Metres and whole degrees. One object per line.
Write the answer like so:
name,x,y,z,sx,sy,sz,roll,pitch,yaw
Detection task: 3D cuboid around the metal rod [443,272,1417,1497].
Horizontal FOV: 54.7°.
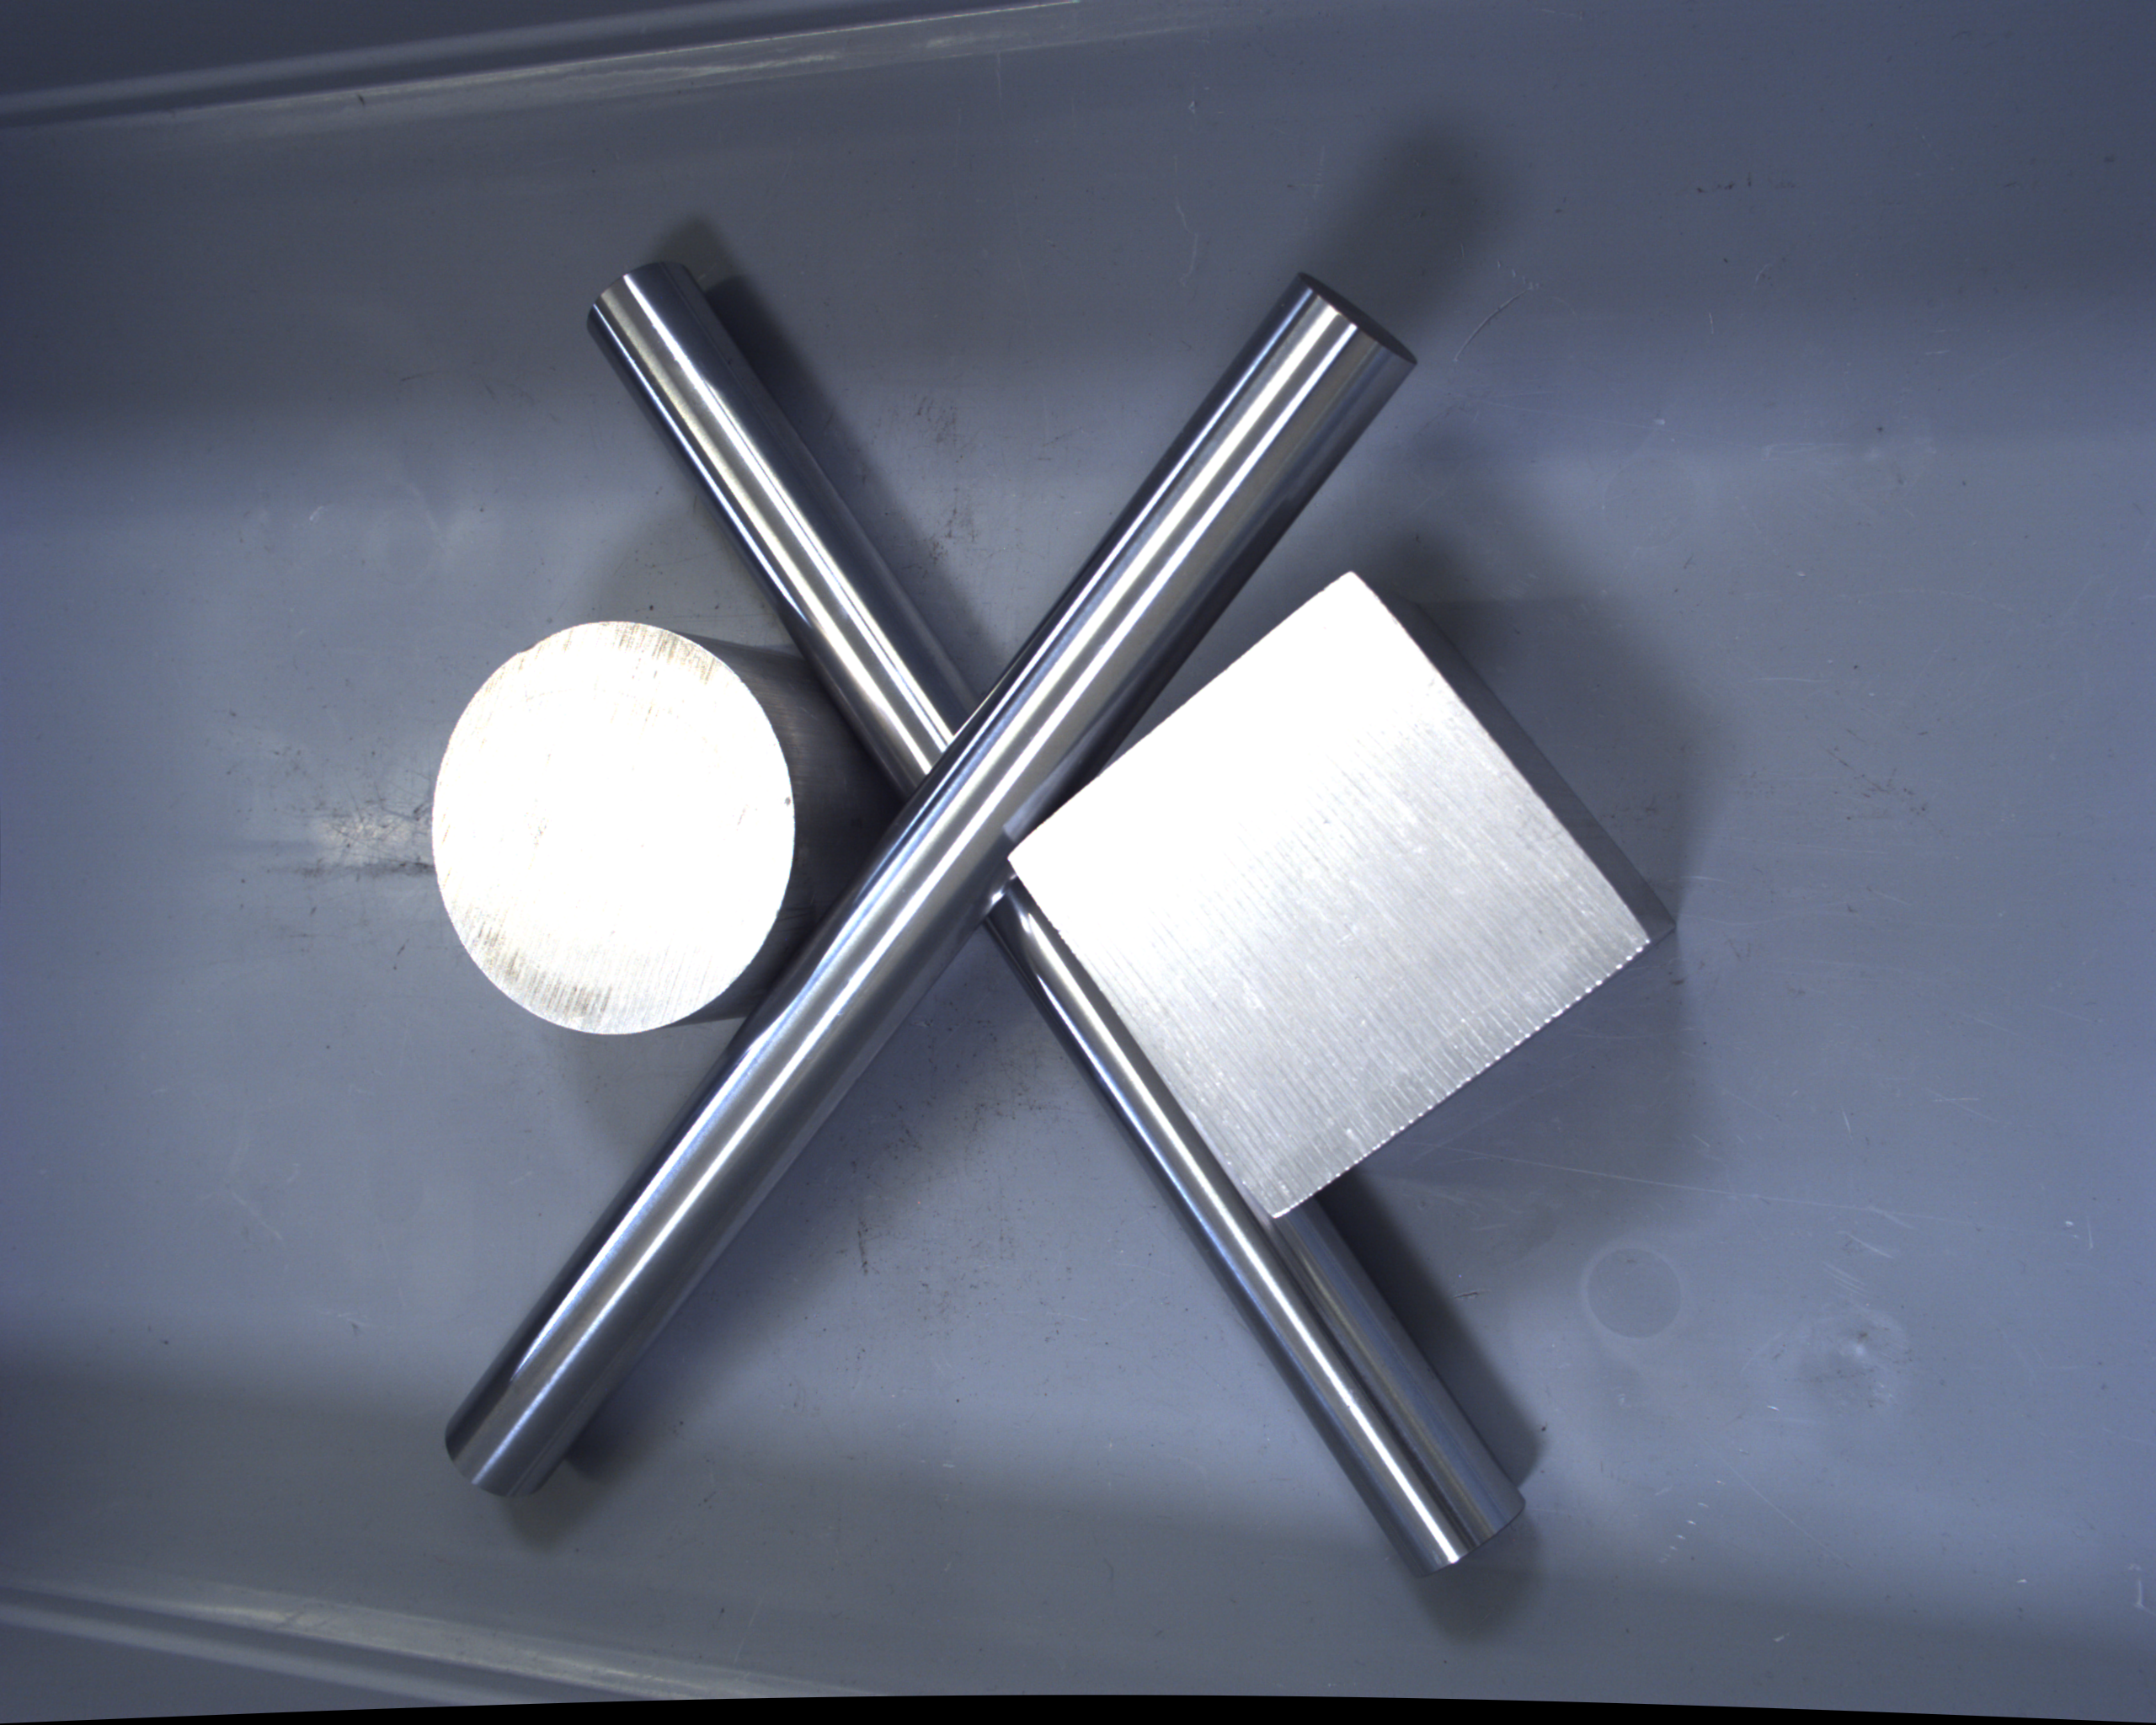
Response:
metal rod,-0.040,0.018,0.400,0.025,0.025,0.299,44,112,14

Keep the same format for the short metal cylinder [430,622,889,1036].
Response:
short metal cylinder,-0.082,-0.007,0.424,0.080,0.050,0.079,0,90,20

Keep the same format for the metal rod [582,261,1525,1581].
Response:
metal rod,-0.011,0.003,0.412,0.025,0.025,0.299,-37,78,16

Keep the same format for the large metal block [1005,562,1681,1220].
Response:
large metal block,0.049,0.005,0.377,0.080,0.050,0.080,-40,78,15
